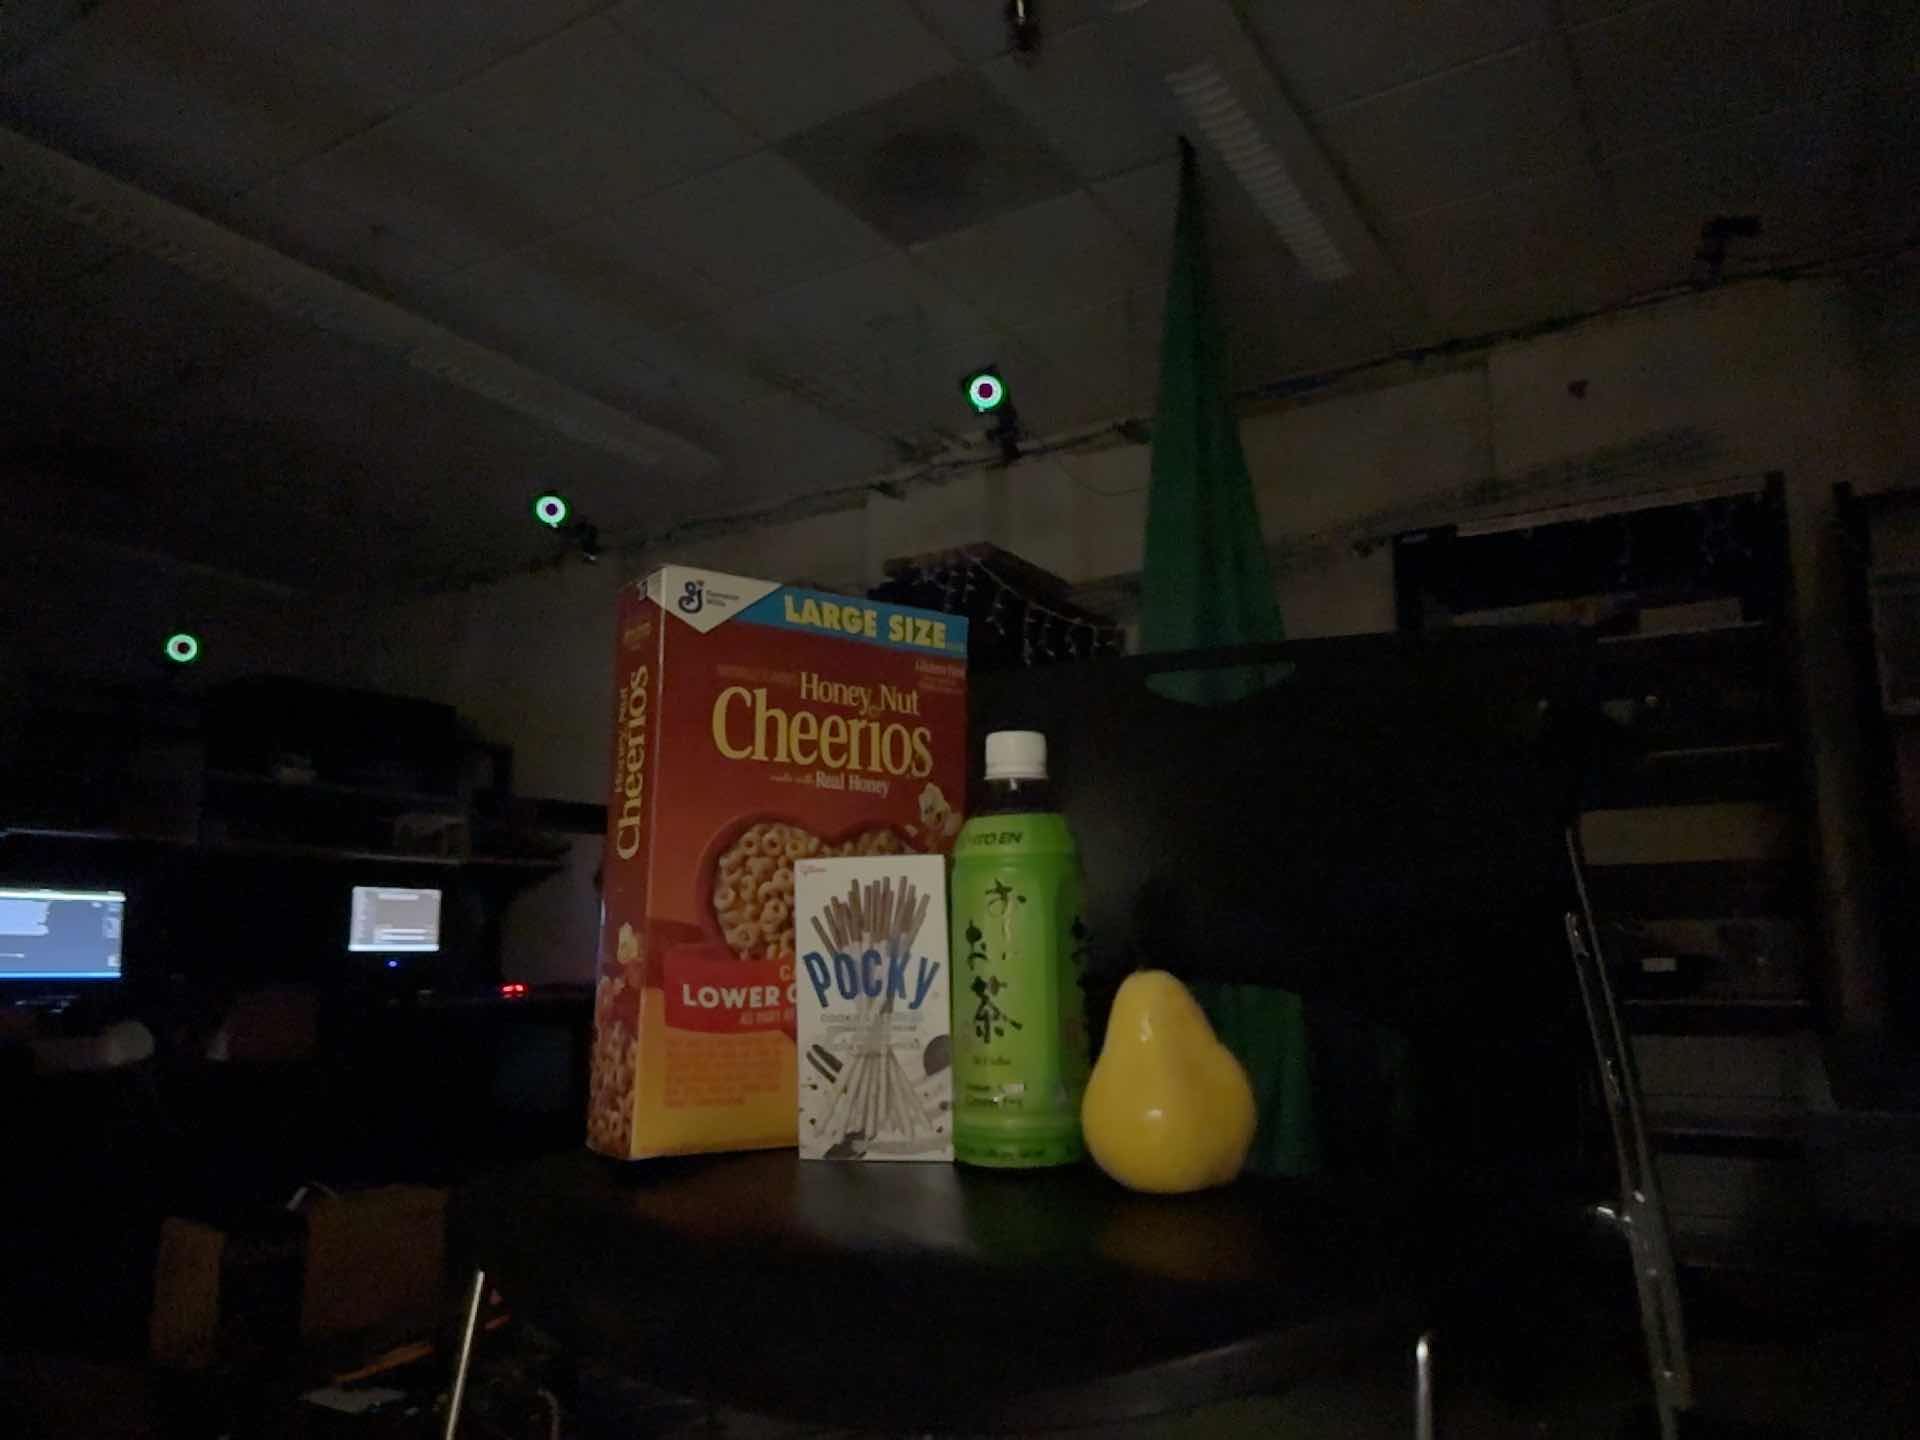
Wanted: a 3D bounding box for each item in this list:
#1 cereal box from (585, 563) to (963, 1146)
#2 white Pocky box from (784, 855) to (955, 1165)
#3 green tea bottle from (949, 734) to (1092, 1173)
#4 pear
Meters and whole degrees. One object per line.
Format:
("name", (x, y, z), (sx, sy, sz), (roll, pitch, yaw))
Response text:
("cereal box", (-0.100, 0.076, 0.777), (0.195, 0.297, 0.065), (8, -10, -36))
("white Pocky box", (-0.047, 0.148, 0.697), (0.084, 0.154, 0.028), (-3, -3, 13))
("green tea bottle", (0.028, 0.113, 0.679), (0.073, 0.212, 0.073), (-3, -9, -1))
("pear", (0.091, 0.155, 0.609), (0.080, 0.111, 0.080), (0, -13, 0))
